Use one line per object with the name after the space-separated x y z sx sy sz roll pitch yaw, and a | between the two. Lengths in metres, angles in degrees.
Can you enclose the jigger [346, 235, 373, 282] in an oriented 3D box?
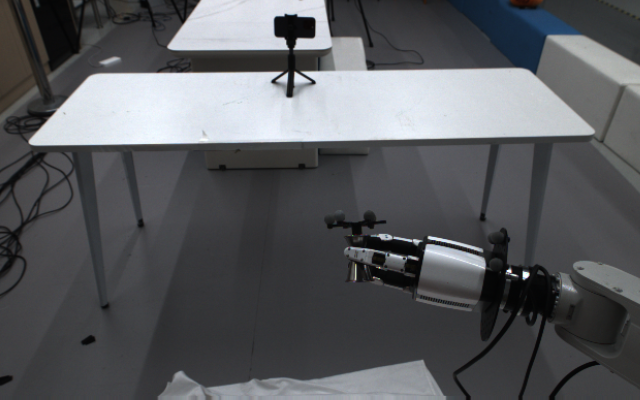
0.056 0.085 0.714 0.043 0.071 0.043 -2 -7 0 | jigger
